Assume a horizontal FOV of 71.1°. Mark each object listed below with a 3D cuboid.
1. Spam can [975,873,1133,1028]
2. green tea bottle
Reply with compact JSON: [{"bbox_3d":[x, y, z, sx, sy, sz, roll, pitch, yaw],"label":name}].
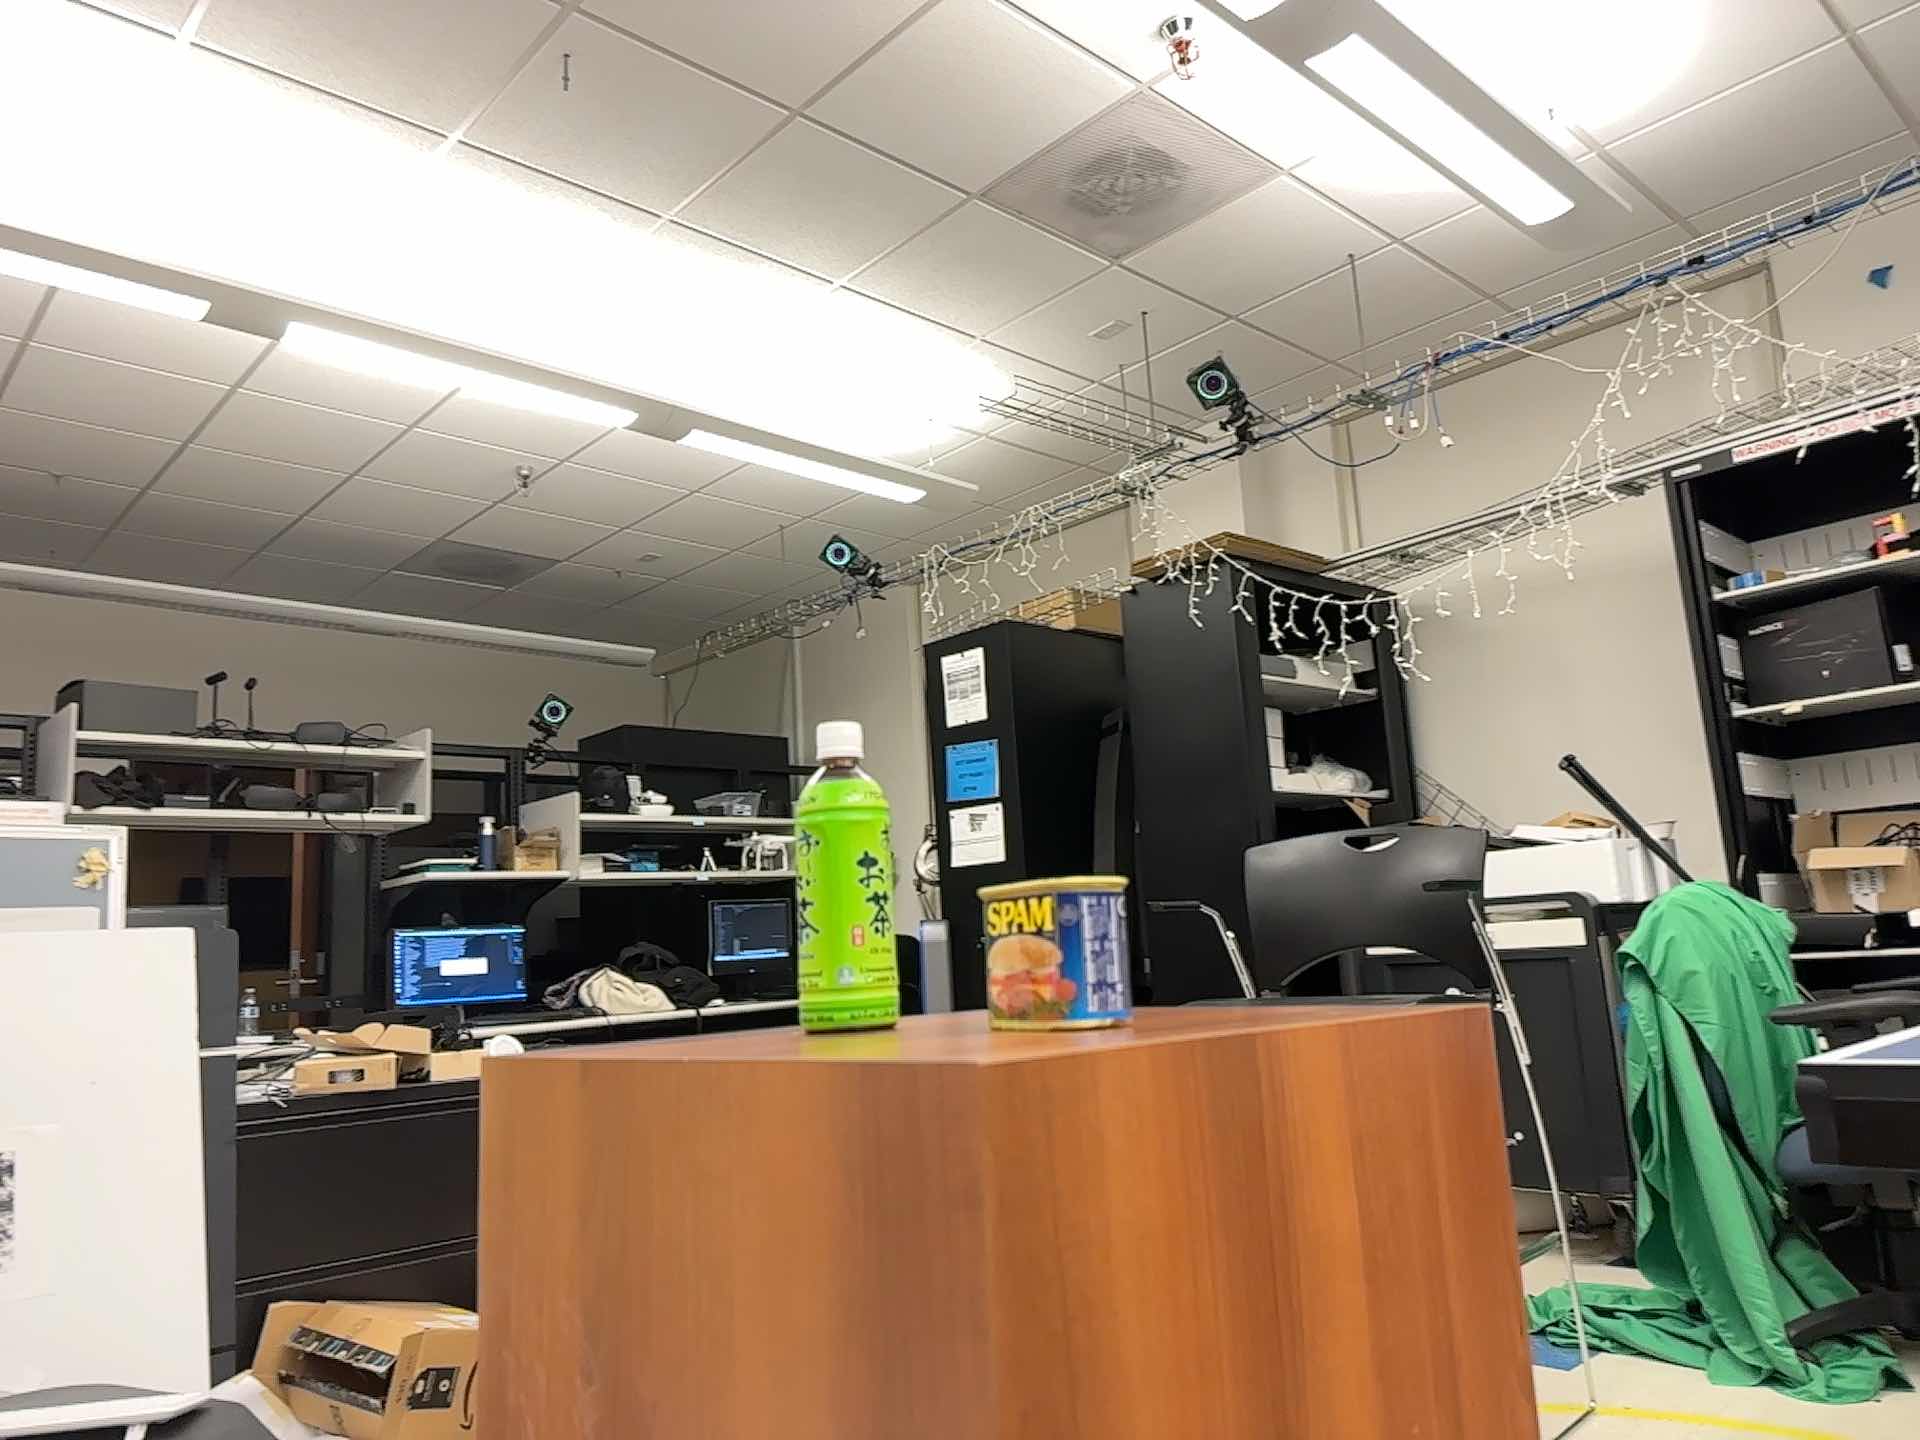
[{"bbox_3d":[0.056,0.139,0.805,0.056,0.083,0.100,5,-14,-33],"label":"Spam can"},{"bbox_3d":[-0.080,0.109,0.933,0.073,0.212,0.073,-3,-14,-1],"label":"green tea bottle"}]
